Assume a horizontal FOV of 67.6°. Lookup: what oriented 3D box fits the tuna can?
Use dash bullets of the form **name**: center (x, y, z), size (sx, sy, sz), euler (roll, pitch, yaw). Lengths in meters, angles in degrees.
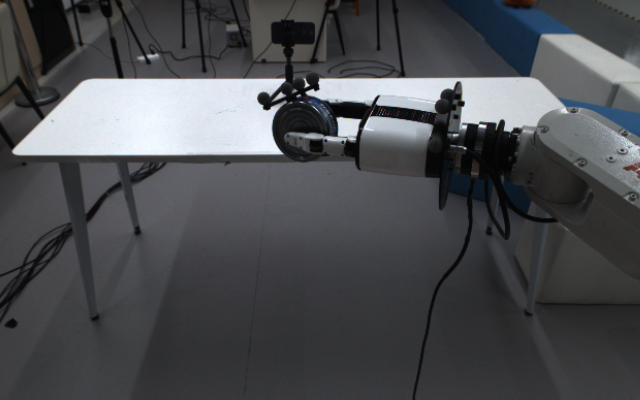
- **tuna can**: center (-0.017, -0.090, 0.653), size (0.085, 0.085, 0.034), euler (14, 30, 17)
